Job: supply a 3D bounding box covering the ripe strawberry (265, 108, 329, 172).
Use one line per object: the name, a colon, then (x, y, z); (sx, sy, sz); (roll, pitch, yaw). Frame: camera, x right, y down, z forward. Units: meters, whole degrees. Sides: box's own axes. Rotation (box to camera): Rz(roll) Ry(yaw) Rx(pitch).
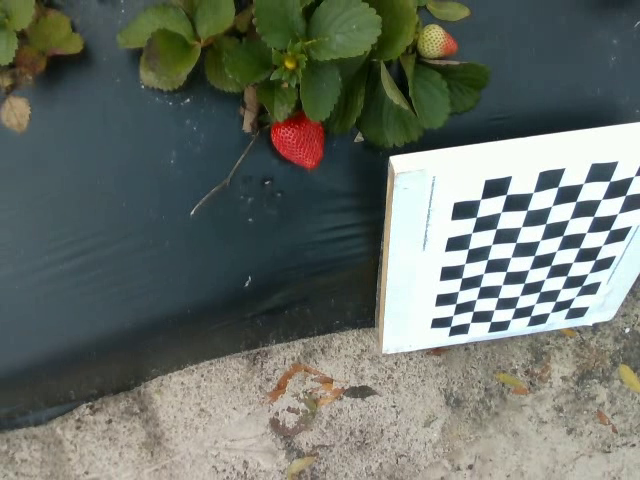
ripe strawberry: (-0.015, -0.065, 0.422); (0.037, 0.046, 0.036); (-35, -6, 34)
